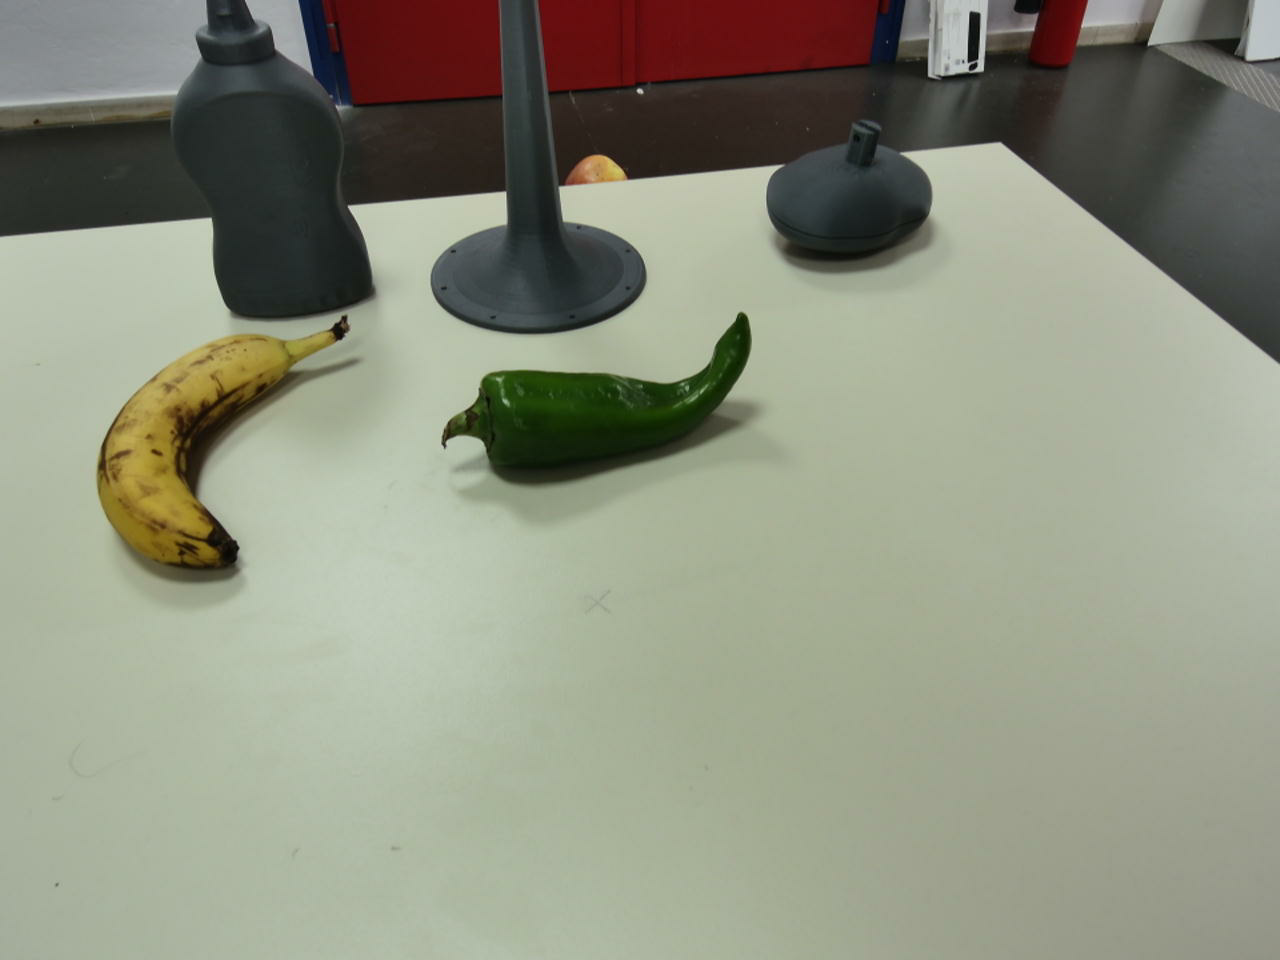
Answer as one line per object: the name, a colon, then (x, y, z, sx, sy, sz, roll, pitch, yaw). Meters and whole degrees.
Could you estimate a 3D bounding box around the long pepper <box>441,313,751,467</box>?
long pepper: (-0.020, -0.046, 0.536, 0.175, 0.065, 0.058, -9, 40, -11)
